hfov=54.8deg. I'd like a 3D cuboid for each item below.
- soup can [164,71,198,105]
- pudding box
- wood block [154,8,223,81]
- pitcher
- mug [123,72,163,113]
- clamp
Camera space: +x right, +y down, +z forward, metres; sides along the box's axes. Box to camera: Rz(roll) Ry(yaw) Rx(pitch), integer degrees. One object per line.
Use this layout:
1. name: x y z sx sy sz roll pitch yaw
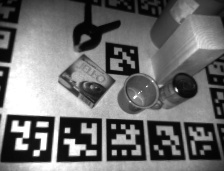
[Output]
1. soup can: 0.179 0.009 0.577 0.068 0.101 0.067 5 70 -14
2. pudding box: -0.058 -0.014 0.553 0.114 0.038 0.090 37 66 1
3. wood block: 0.204 -0.093 0.567 0.091 0.205 0.090 0 68 -19
4. pitcher: 0.225 -0.210 0.603 0.190 0.242 0.132 1 66 -13
5. mug: 0.087 0.028 0.554 0.117 0.081 0.093 35 61 1
6. clamp: -0.047 -0.160 0.621 0.122 0.036 0.165 33 64 -10
